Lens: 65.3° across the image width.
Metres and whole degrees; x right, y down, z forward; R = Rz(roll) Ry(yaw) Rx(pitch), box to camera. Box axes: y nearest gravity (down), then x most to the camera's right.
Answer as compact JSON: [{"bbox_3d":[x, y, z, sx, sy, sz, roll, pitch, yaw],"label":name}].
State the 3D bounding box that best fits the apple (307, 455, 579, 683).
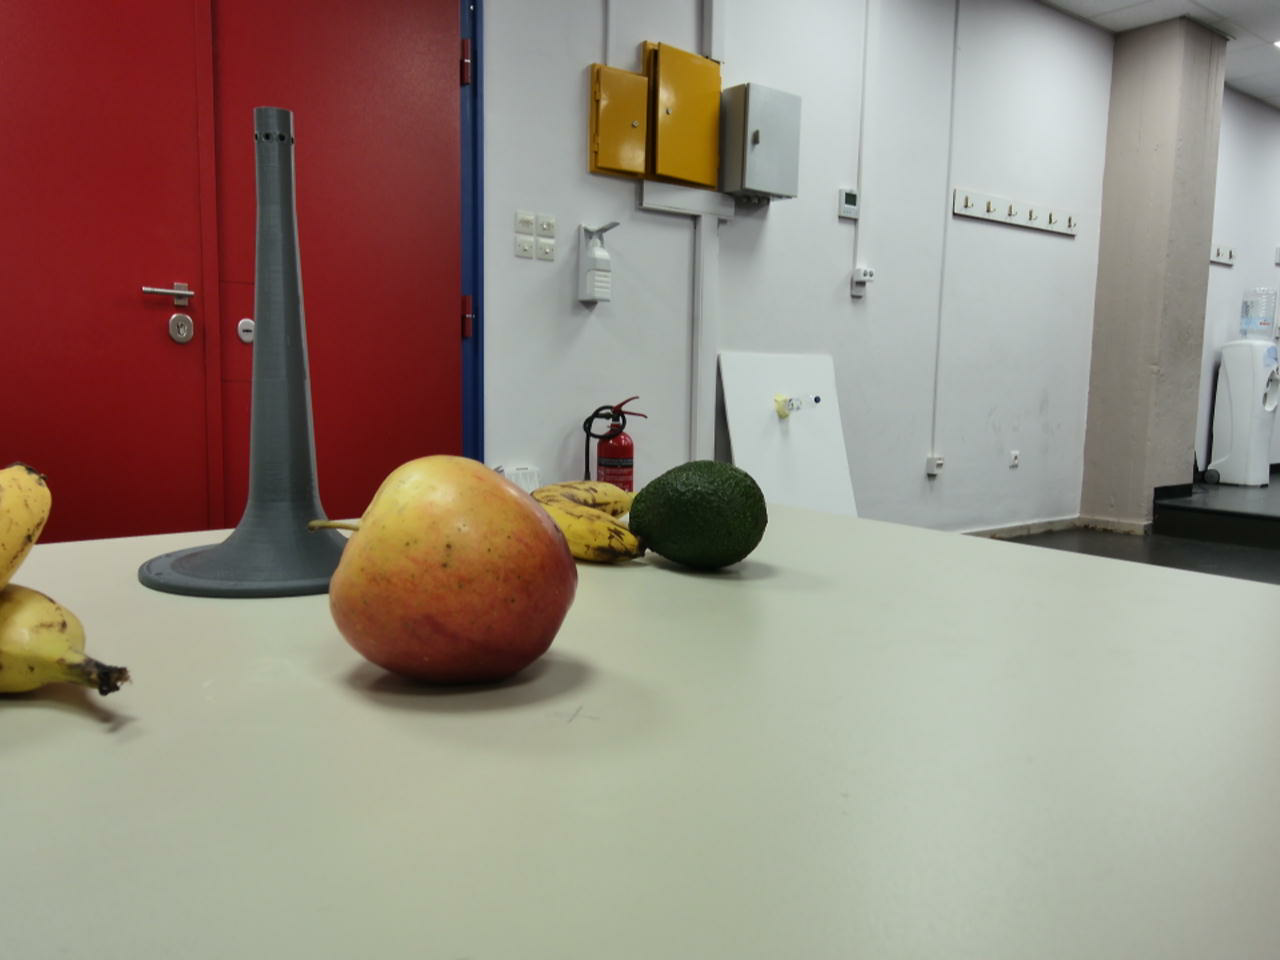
[{"bbox_3d":[-0.073,0.034,0.382,0.093,0.084,0.086,2,4,16],"label":"apple"}]
